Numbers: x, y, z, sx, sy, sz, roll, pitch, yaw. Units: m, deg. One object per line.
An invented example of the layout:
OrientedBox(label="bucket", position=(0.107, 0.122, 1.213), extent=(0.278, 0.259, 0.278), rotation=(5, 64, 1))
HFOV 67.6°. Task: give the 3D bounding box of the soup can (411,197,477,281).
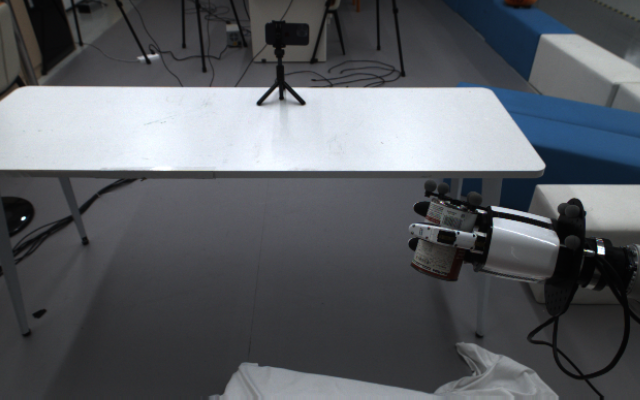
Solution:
OrientedBox(label="soup can", position=(0.176, 0.053, 0.678), extent=(0.067, 0.101, 0.067), rotation=(15, 7, -2))
